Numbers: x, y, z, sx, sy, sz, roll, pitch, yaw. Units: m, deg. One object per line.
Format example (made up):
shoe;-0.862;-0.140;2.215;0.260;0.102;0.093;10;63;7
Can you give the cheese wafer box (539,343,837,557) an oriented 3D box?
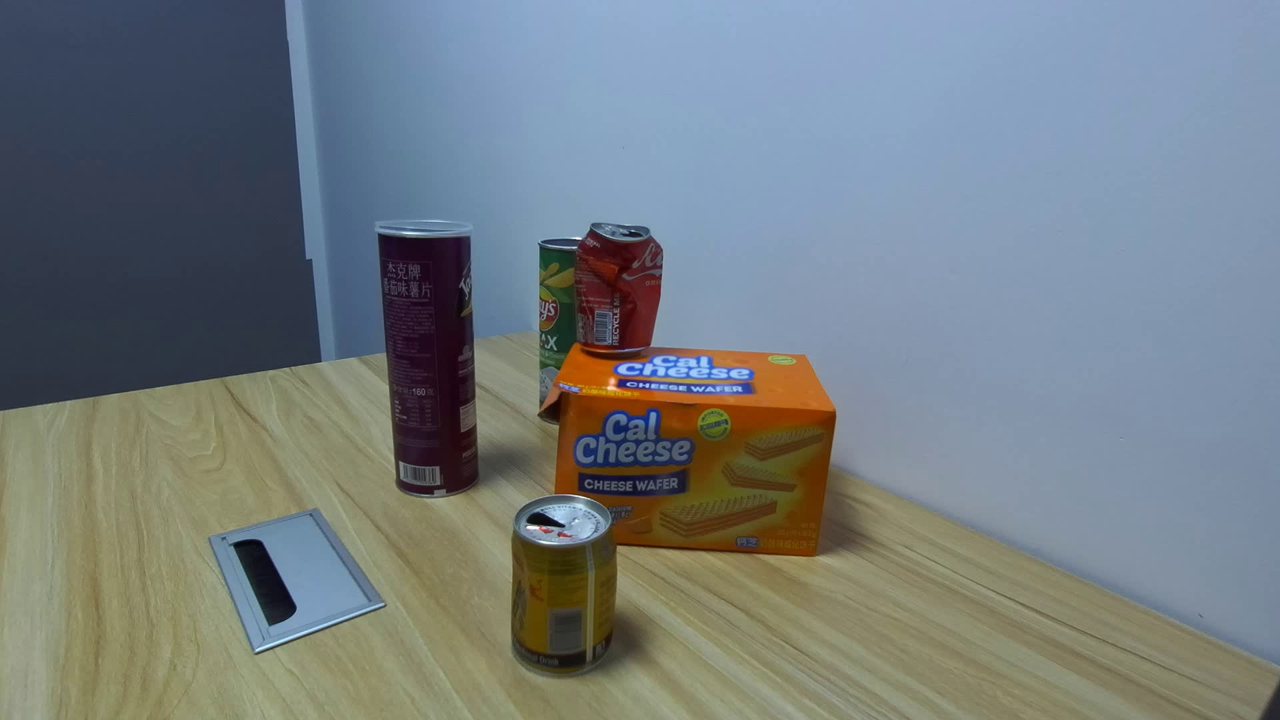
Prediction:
cheese wafer box;0.040;0.068;0.612;0.227;0.137;0.149;3;18;2

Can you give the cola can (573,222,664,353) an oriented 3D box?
cola can;-0.022;-0.062;0.617;0.069;0.112;0.066;11;21;20

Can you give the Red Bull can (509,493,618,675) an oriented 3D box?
Red Bull can;-0.049;0.138;0.442;0.069;0.092;0.069;3;18;-1

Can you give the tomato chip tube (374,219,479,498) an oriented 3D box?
tomato chip tube;-0.186;0.000;0.629;0.078;0.234;0.078;2;18;0

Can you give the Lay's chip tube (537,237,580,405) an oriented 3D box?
Lay's chip tube;-0.073;-0.032;0.777;0.071;0.202;0.071;2;18;0
